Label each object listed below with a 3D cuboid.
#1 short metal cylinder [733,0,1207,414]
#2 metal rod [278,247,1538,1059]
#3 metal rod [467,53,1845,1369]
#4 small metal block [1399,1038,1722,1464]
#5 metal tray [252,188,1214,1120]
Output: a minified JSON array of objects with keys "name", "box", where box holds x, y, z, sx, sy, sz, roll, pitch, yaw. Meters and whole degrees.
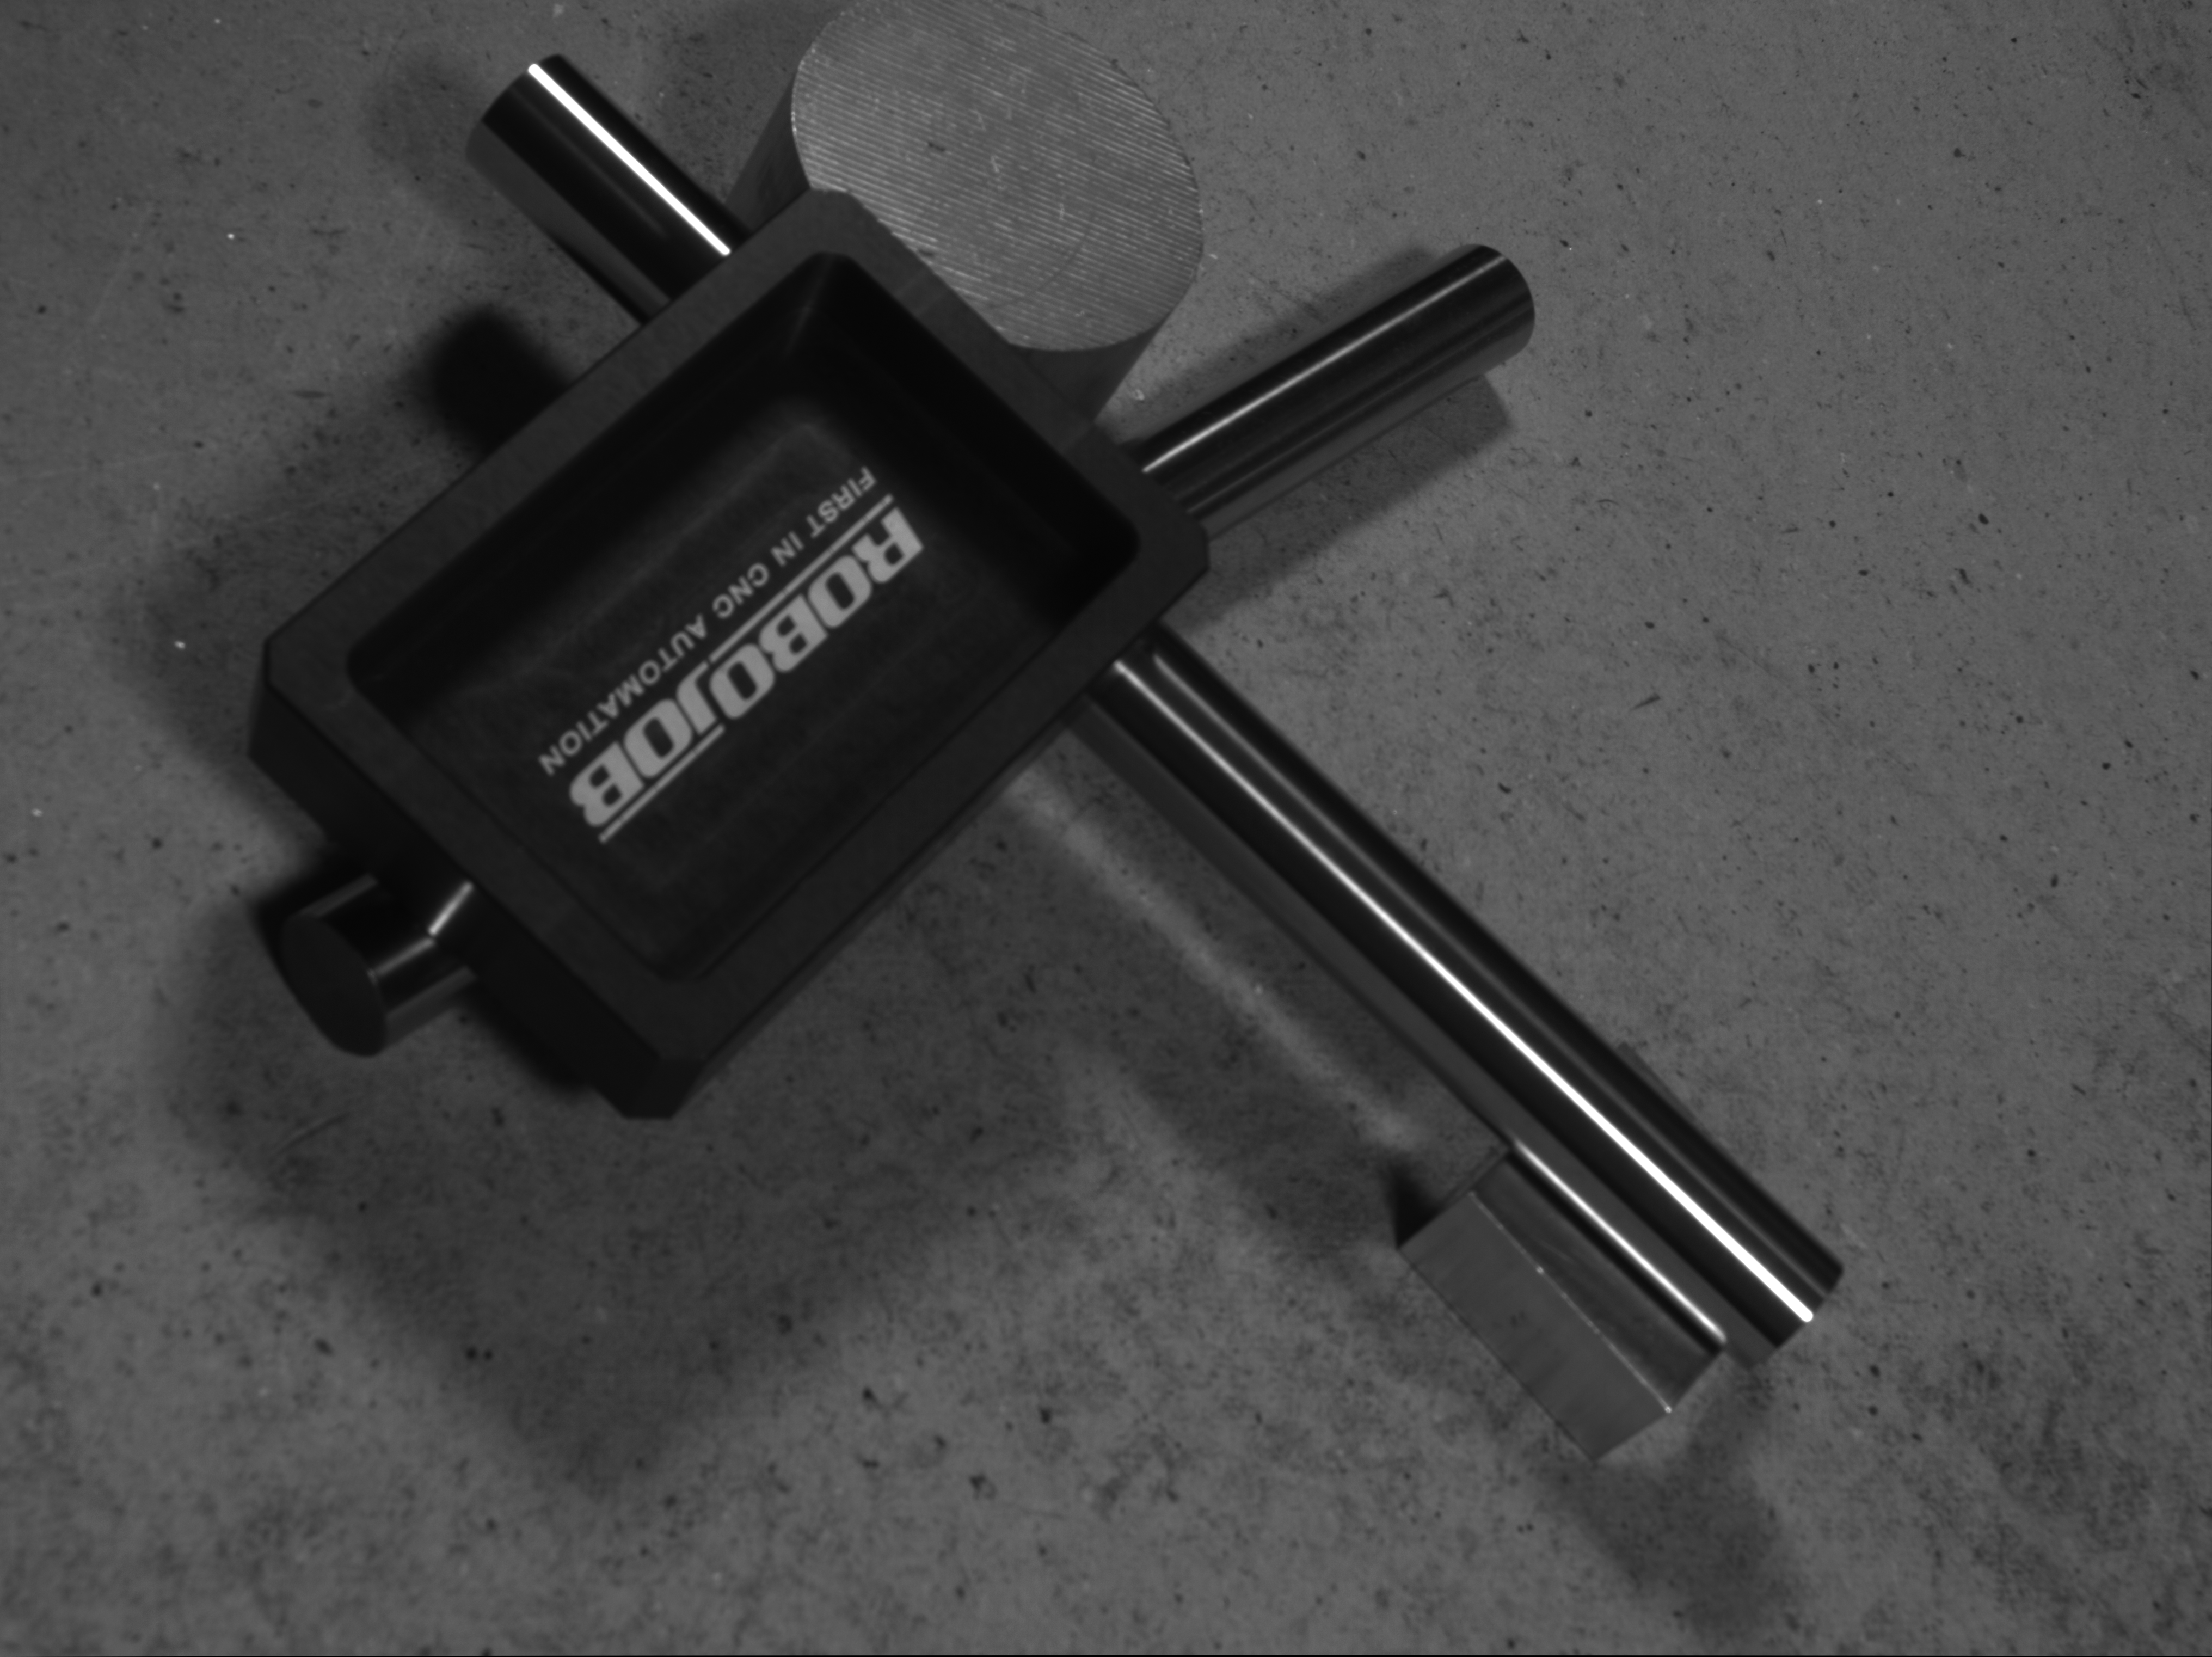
[{"name":"short metal cylinder","box":[-0.028,-0.107,0.673,0.080,0.050,0.080,14,56,-21]},{"name":"metal rod","box":[-0.020,-0.041,0.654,0.301,0.025,0.025,-34,80,-38]},{"name":"metal rod","box":[0.008,-0.021,0.625,0.300,0.025,0.025,43,51,2]},{"name":"small metal block","box":[0.088,0.074,0.642,0.050,0.025,0.050,48,51,5]},{"name":"metal tray","box":[-0.057,-0.030,0.575,0.090,0.030,0.130,43,63,2]}]
